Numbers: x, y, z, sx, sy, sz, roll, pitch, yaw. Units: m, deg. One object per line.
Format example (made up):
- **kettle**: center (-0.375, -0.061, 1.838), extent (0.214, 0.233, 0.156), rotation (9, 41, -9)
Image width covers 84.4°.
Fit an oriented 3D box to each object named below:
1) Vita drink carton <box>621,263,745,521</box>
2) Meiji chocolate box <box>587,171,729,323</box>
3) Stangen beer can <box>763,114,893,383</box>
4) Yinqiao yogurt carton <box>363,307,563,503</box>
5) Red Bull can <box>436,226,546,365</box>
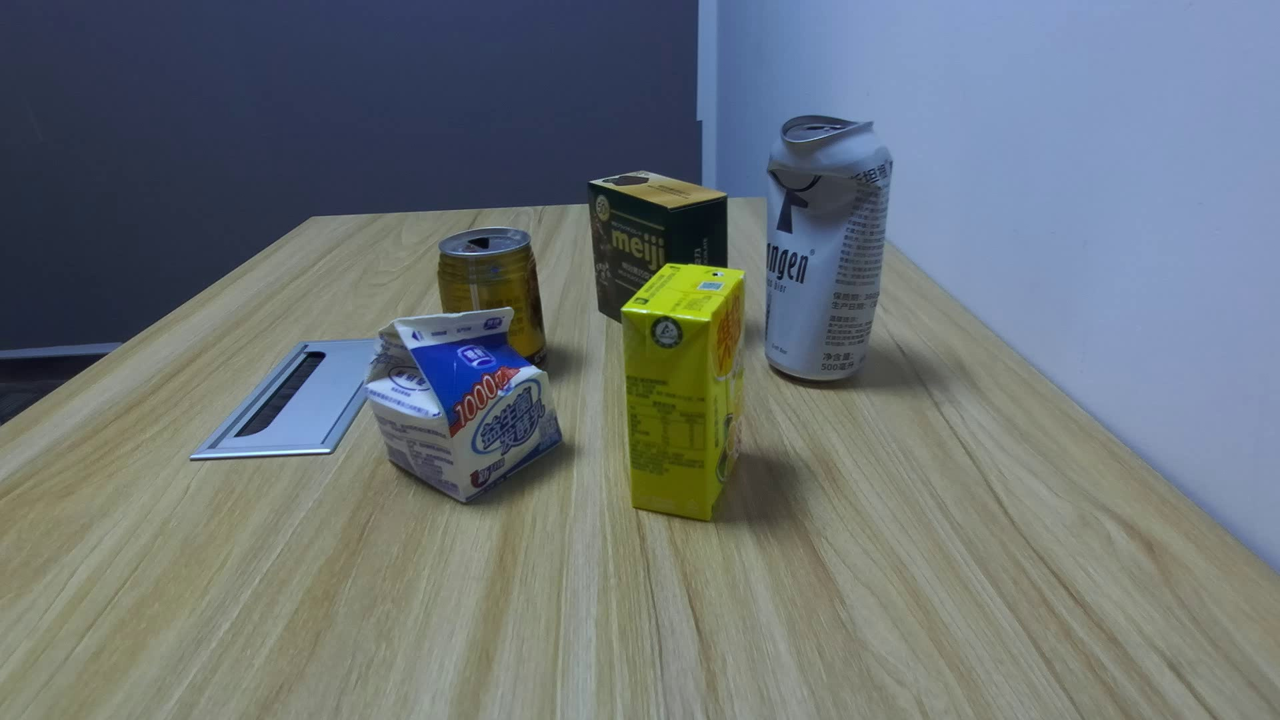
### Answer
- **Vita drink carton**: center (0.024, 0.015, 0.347), extent (0.043, 0.109, 0.067), rotation (8, 29, 19)
- **Meiji chocolate box**: center (0.012, -0.076, 0.531), extent (0.056, 0.109, 0.109), rotation (-18, 30, -30)
- **Stangen beer can**: center (0.114, -0.067, 0.447), extent (0.077, 0.162, 0.066), rotation (6, 27, 17)
- **Yinqiao yogurt carton**: center (-0.098, 0.012, 0.381), extent (0.077, 0.093, 0.083), rotation (18, 33, 36)
- **Red Bull can**: center (-0.100, -0.037, 0.487), extent (0.069, 0.092, 0.069), rotation (-3, 25, 2)
